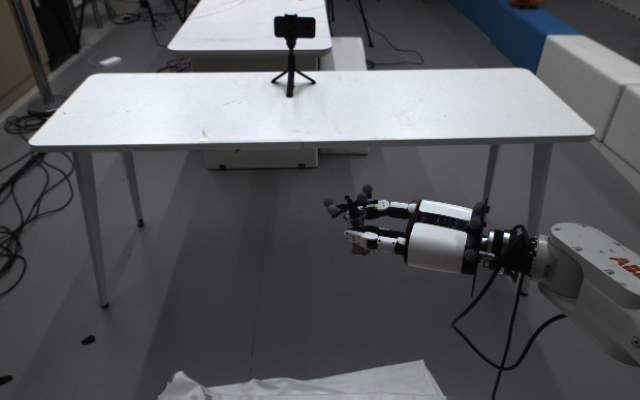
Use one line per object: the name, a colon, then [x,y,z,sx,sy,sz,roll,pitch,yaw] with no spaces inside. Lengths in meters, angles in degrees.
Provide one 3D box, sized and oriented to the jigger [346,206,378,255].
jigger: [0.067,0.052,0.813,0.043,0.071,0.043,-14,21,6]
